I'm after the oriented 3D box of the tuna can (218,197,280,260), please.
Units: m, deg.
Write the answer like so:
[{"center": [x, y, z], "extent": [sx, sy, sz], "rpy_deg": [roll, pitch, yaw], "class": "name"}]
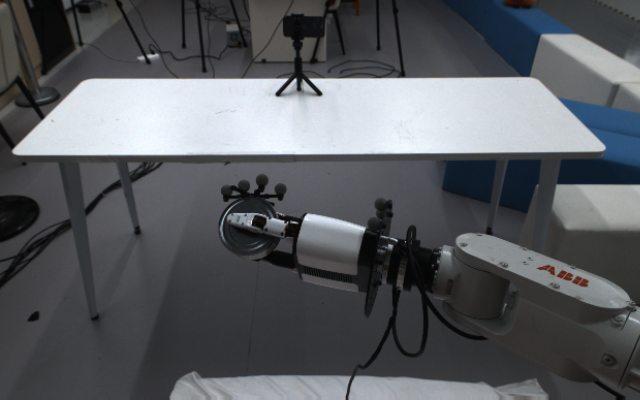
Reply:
[{"center": [-0.092, 0.041, 0.682], "extent": [0.085, 0.034, 0.085], "rpy_deg": [-2, 69, 6], "class": "tuna can"}]
